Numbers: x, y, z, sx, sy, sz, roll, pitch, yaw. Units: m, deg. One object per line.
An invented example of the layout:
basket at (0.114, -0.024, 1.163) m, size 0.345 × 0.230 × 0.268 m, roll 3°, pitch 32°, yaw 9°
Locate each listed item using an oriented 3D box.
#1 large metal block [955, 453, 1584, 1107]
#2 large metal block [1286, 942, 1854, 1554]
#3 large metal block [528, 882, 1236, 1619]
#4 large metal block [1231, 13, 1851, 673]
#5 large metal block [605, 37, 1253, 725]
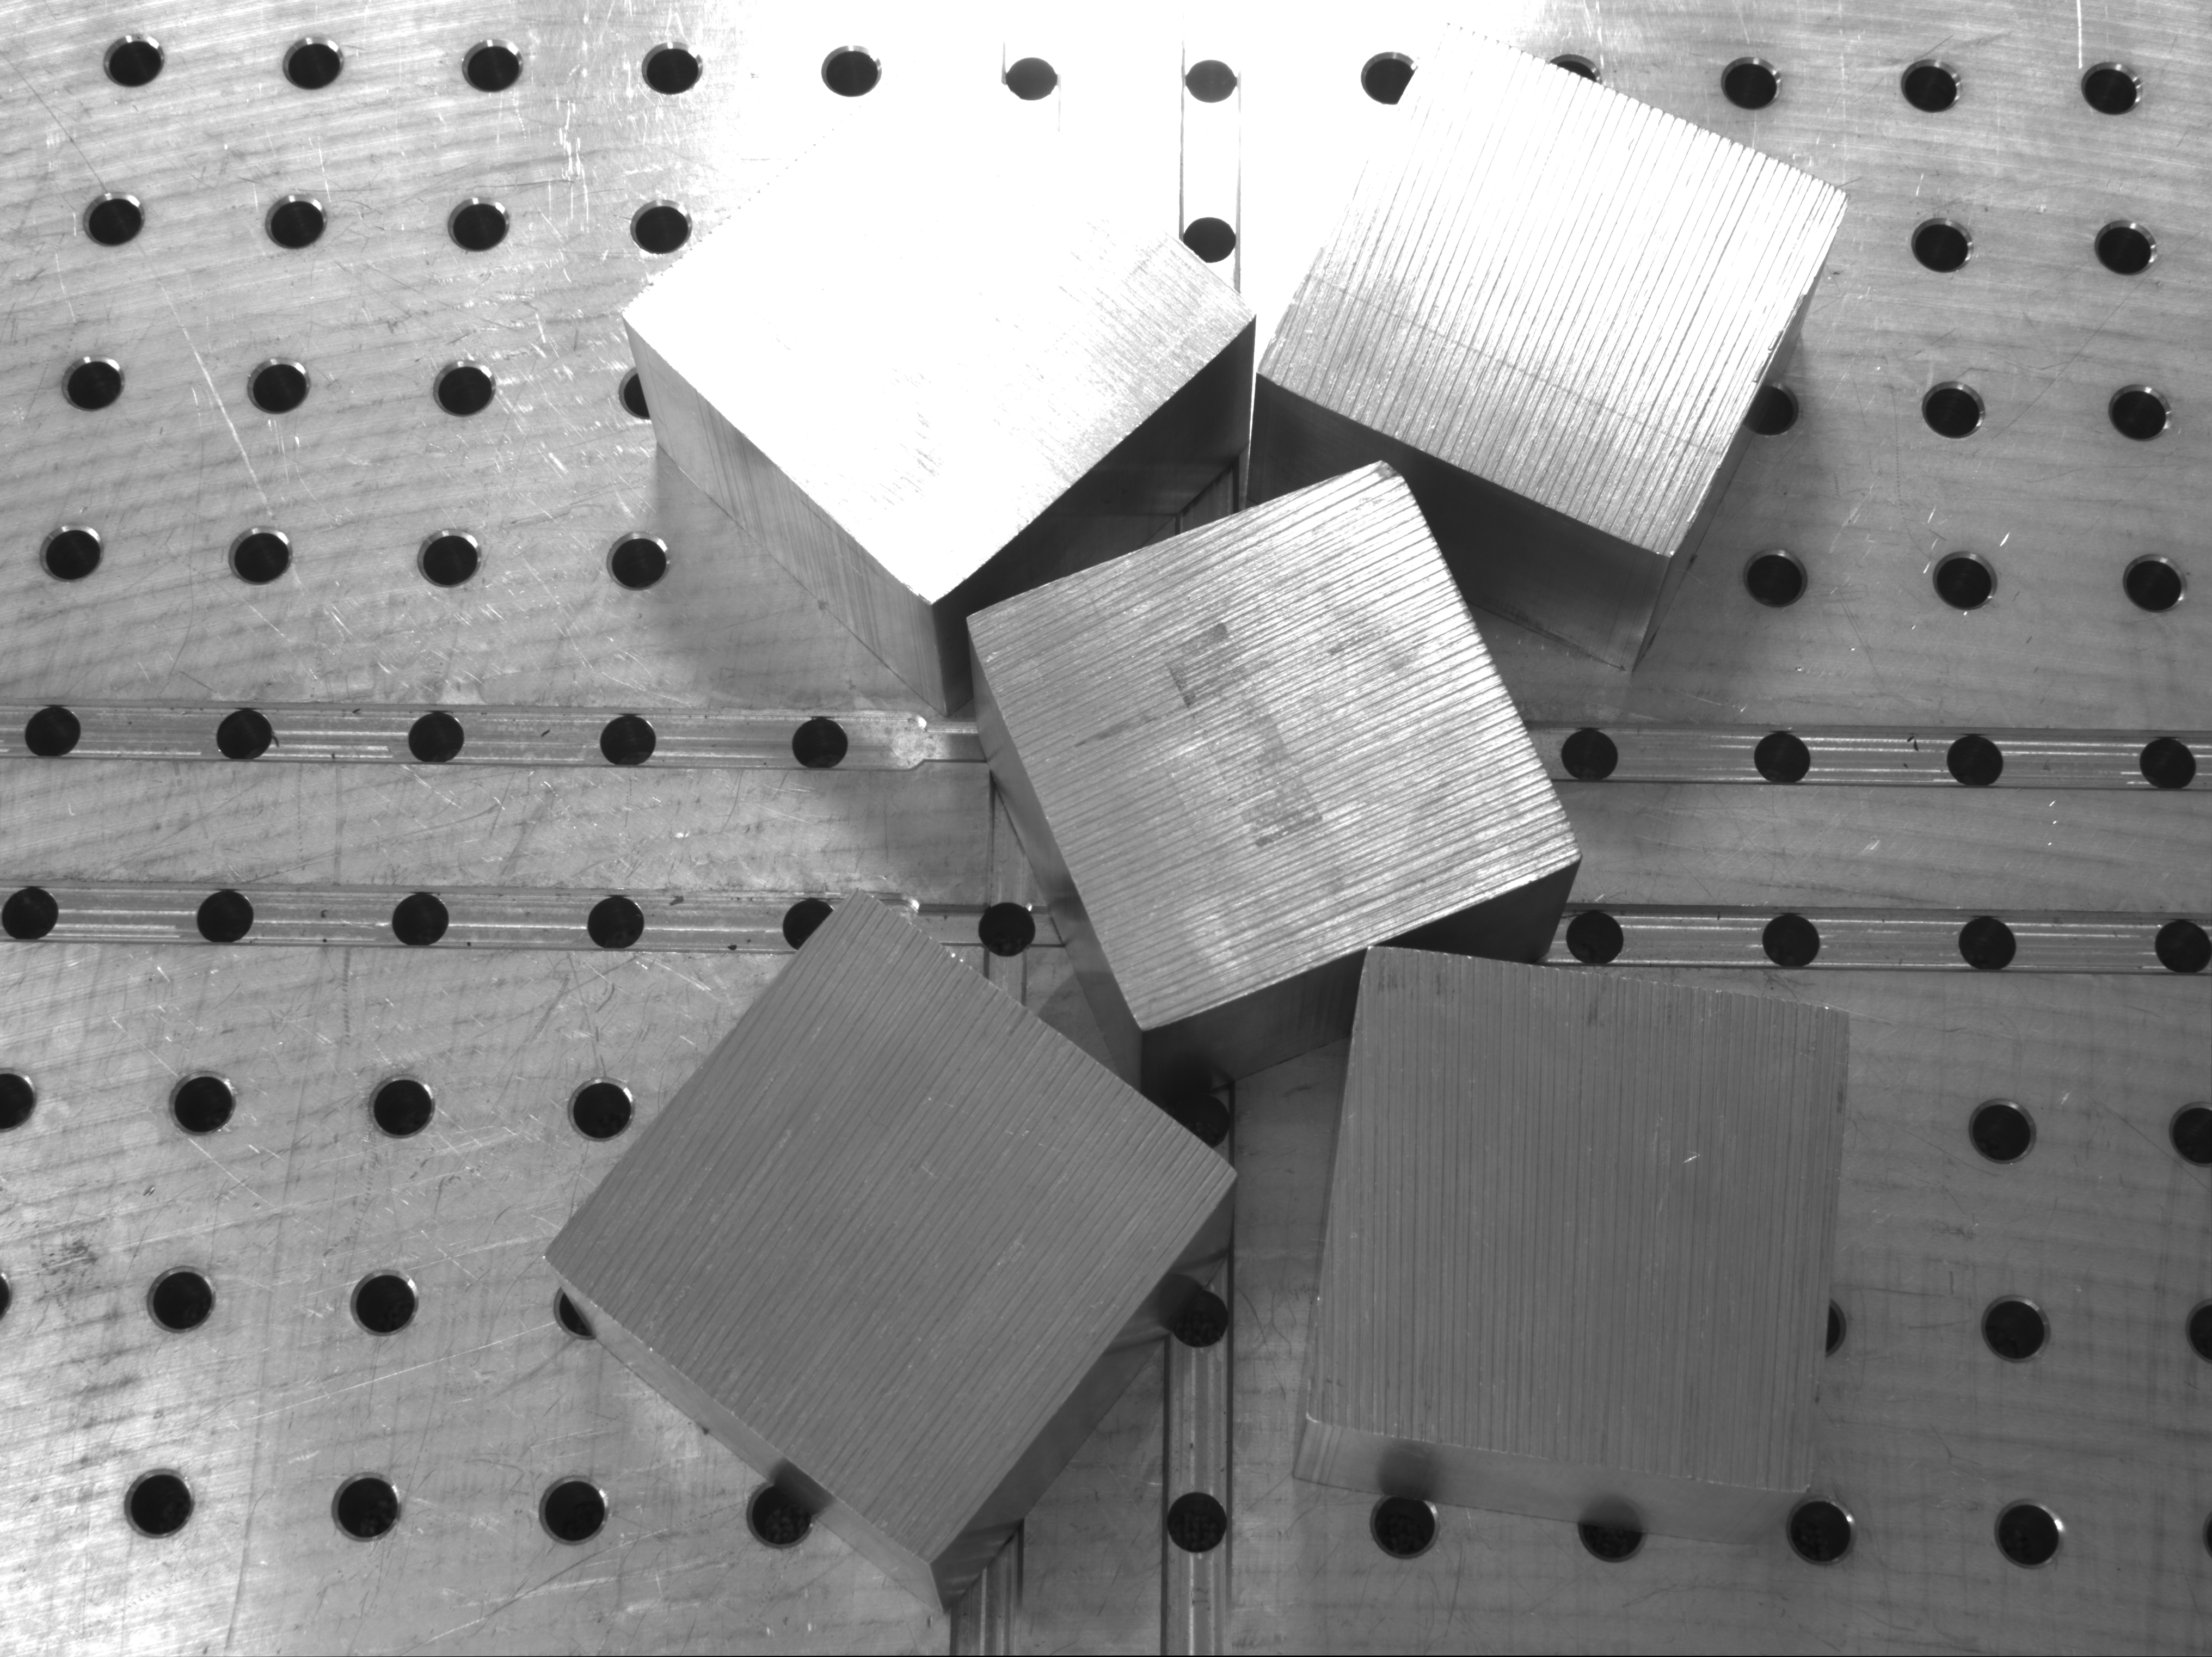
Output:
large metal block at (0.027, -0.007, 0.636) m, size 0.080 × 0.050 × 0.080 m, roll -21°, pitch 71°, yaw -7°
large metal block at (0.076, 0.070, 0.609) m, size 0.080 × 0.050 × 0.080 m, roll 9°, pitch 70°, yaw 3°
large metal block at (-0.035, 0.070, 0.607) m, size 0.080 × 0.050 × 0.080 m, roll 36°, pitch 74°, yaw 13°
large metal block at (0.077, -0.087, 0.666) m, size 0.080 × 0.050 × 0.080 m, roll 25°, pitch 72°, yaw 6°
large metal block at (-0.030, -0.081, 0.664) m, size 0.080 × 0.050 × 0.080 m, roll -42°, pitch 75°, yaw -13°
